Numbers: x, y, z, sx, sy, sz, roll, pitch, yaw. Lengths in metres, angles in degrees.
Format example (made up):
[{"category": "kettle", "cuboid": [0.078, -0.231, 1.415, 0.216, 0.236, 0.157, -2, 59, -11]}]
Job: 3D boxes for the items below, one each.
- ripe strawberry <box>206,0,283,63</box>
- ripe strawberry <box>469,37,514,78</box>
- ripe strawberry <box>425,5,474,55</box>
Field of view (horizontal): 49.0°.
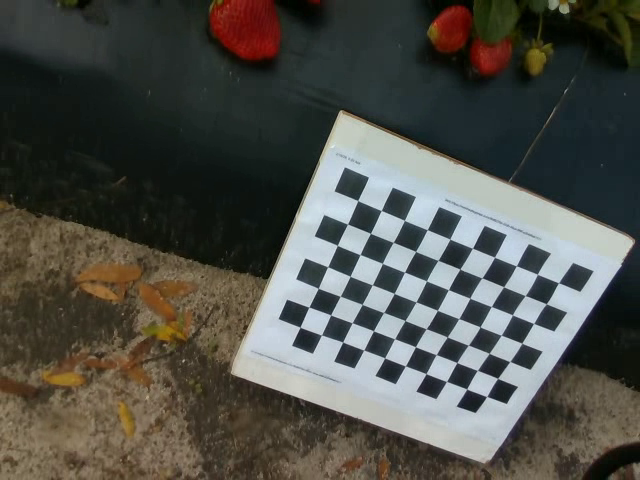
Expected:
[{"category": "ripe strawberry", "cuboid": [-0.054, -0.169, 0.600, 0.058, 0.065, 0.043, -33, 3, 19]}, {"category": "ripe strawberry", "cuboid": [0.150, -0.152, 0.624, 0.043, 0.049, 0.041, 17, -40, -7]}, {"category": "ripe strawberry", "cuboid": [0.112, -0.175, 0.627, 0.053, 0.047, 0.038, -15, 34, -29]}]
